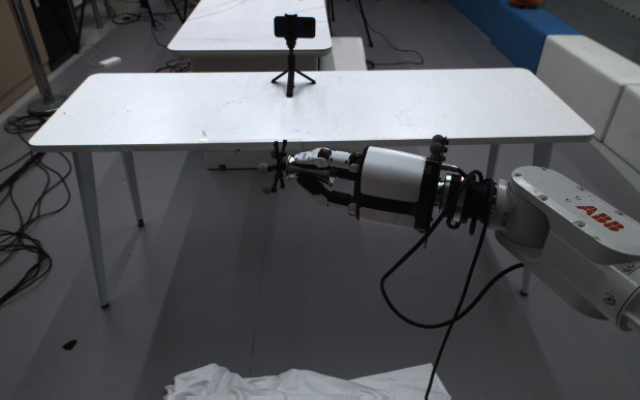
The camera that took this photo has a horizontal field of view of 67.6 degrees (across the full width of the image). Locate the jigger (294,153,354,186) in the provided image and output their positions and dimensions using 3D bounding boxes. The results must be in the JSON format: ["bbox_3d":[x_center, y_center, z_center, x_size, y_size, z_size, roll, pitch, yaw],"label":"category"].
[{"bbox_3d":[-0.007,-0.051,0.726,0.071,0.043,0.043,8,35,14],"label":"jigger"}]
